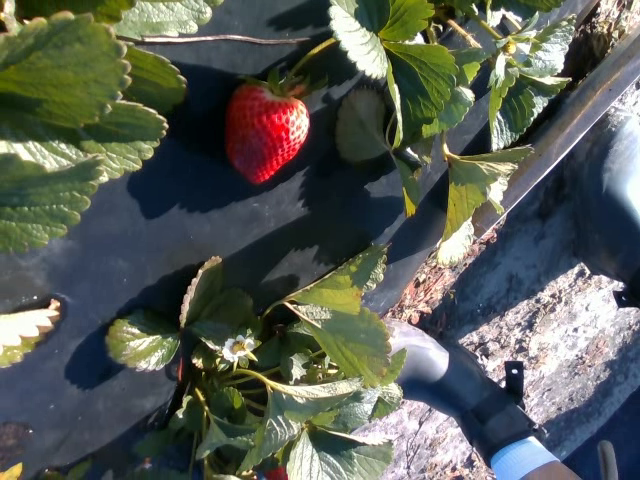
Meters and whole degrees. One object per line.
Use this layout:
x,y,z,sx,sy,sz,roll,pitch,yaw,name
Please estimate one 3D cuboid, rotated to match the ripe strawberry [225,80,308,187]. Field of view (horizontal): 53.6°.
-0.026,-0.050,0.286,0.044,0.056,0.041,22,13,7,ripe strawberry
